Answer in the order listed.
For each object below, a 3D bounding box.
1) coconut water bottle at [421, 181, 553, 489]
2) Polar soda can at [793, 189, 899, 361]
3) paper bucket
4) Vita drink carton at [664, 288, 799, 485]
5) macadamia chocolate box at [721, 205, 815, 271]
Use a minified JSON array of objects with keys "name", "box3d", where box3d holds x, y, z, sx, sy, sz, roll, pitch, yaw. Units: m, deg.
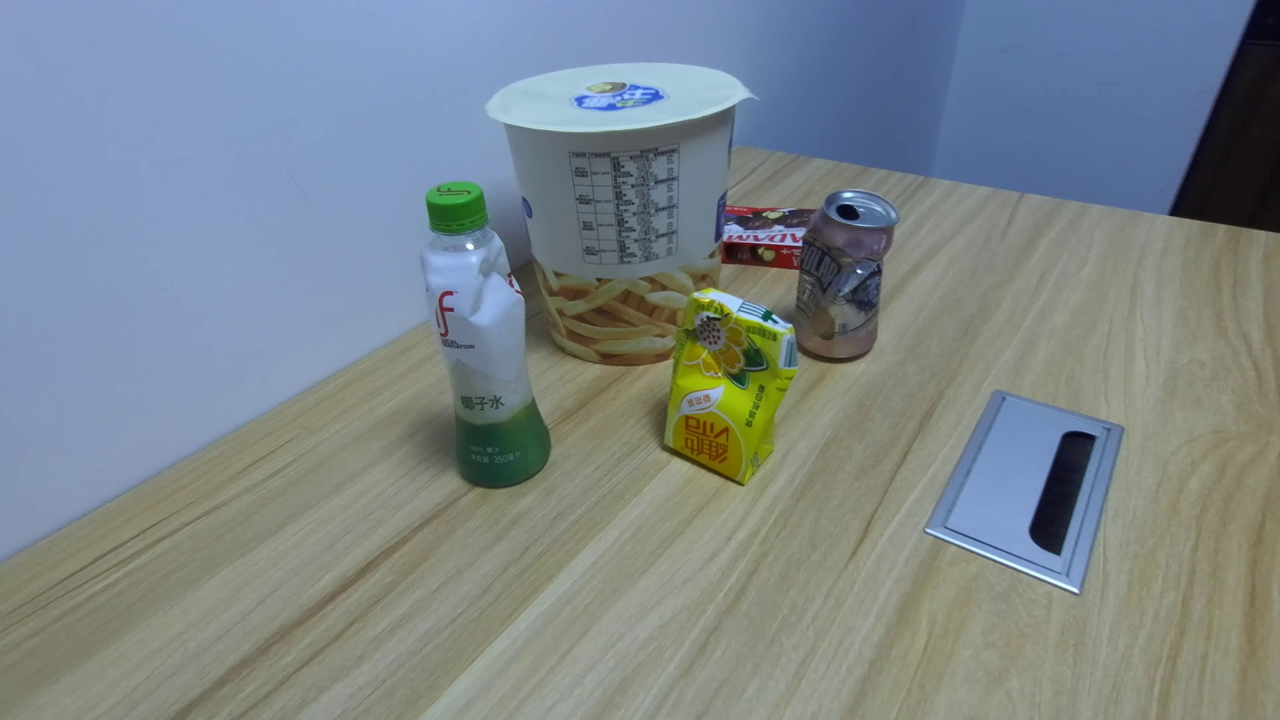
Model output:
[{"name":"coconut water bottle","box3d":[-0.095,-0.012,0.428,0.069,0.186,0.069,-2,35,2]},{"name":"Polar soda can","box3d":[0.161,-0.059,0.544,0.067,0.122,0.071,0,29,-12]},{"name":"paper bucket","box3d":[-0.012,-0.115,0.567,0.198,0.195,0.198,-3,34,2]},{"name":"Vita drink carton","box3d":[0.058,0.014,0.449,0.086,0.108,0.042,25,29,30]},{"name":"macadamia chocolate box","box3d":[0.143,-0.126,0.719,0.182,0.028,0.106,7,36,13]}]
